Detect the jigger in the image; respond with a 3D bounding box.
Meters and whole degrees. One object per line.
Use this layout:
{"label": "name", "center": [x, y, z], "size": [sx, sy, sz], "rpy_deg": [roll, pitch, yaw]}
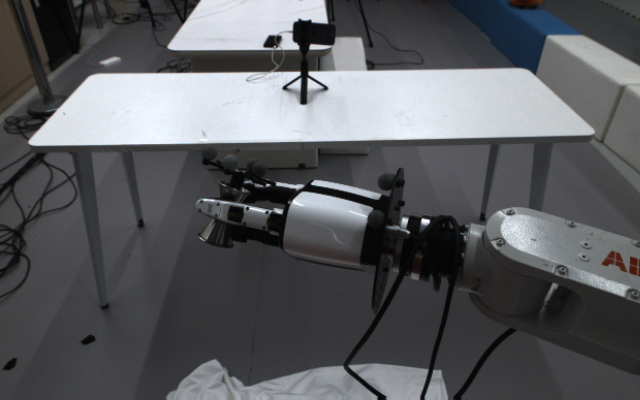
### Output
{"label": "jigger", "center": [-0.110, 0.016, 0.556], "size": [0.043, 0.071, 0.043], "rpy_deg": [21, 6, -2]}
